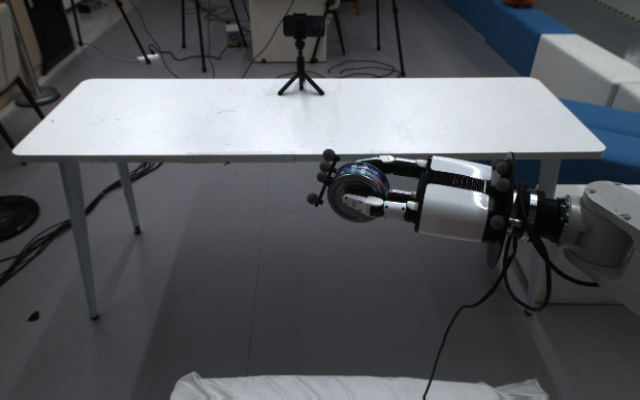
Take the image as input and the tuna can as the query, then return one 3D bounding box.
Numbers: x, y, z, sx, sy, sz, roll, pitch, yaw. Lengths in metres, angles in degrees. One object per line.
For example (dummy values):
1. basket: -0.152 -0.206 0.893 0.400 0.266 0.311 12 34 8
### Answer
1. tuna can: 0.056 -0.011 0.691 0.085 0.085 0.034 9 35 10
